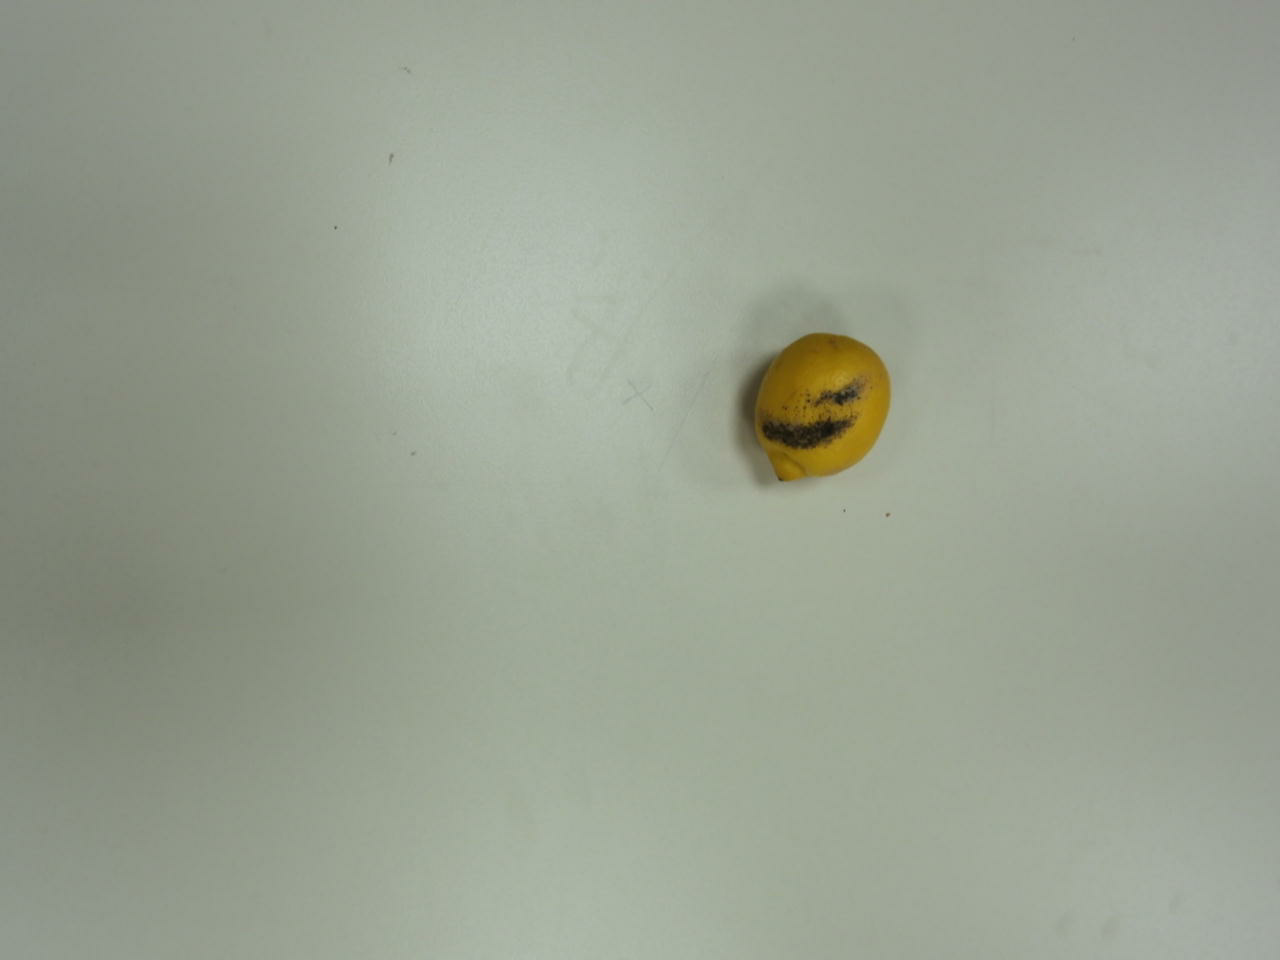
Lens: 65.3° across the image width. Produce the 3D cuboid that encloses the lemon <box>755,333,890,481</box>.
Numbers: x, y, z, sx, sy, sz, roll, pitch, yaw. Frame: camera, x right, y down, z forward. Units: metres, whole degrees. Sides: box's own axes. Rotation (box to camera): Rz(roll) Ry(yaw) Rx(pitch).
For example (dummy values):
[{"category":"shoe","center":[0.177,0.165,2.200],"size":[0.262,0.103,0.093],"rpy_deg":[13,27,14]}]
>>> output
[{"category":"lemon","center":[0.078,-0.032,0.431],"size":[0.058,0.056,0.061],"rpy_deg":[-8,92,-11]}]
